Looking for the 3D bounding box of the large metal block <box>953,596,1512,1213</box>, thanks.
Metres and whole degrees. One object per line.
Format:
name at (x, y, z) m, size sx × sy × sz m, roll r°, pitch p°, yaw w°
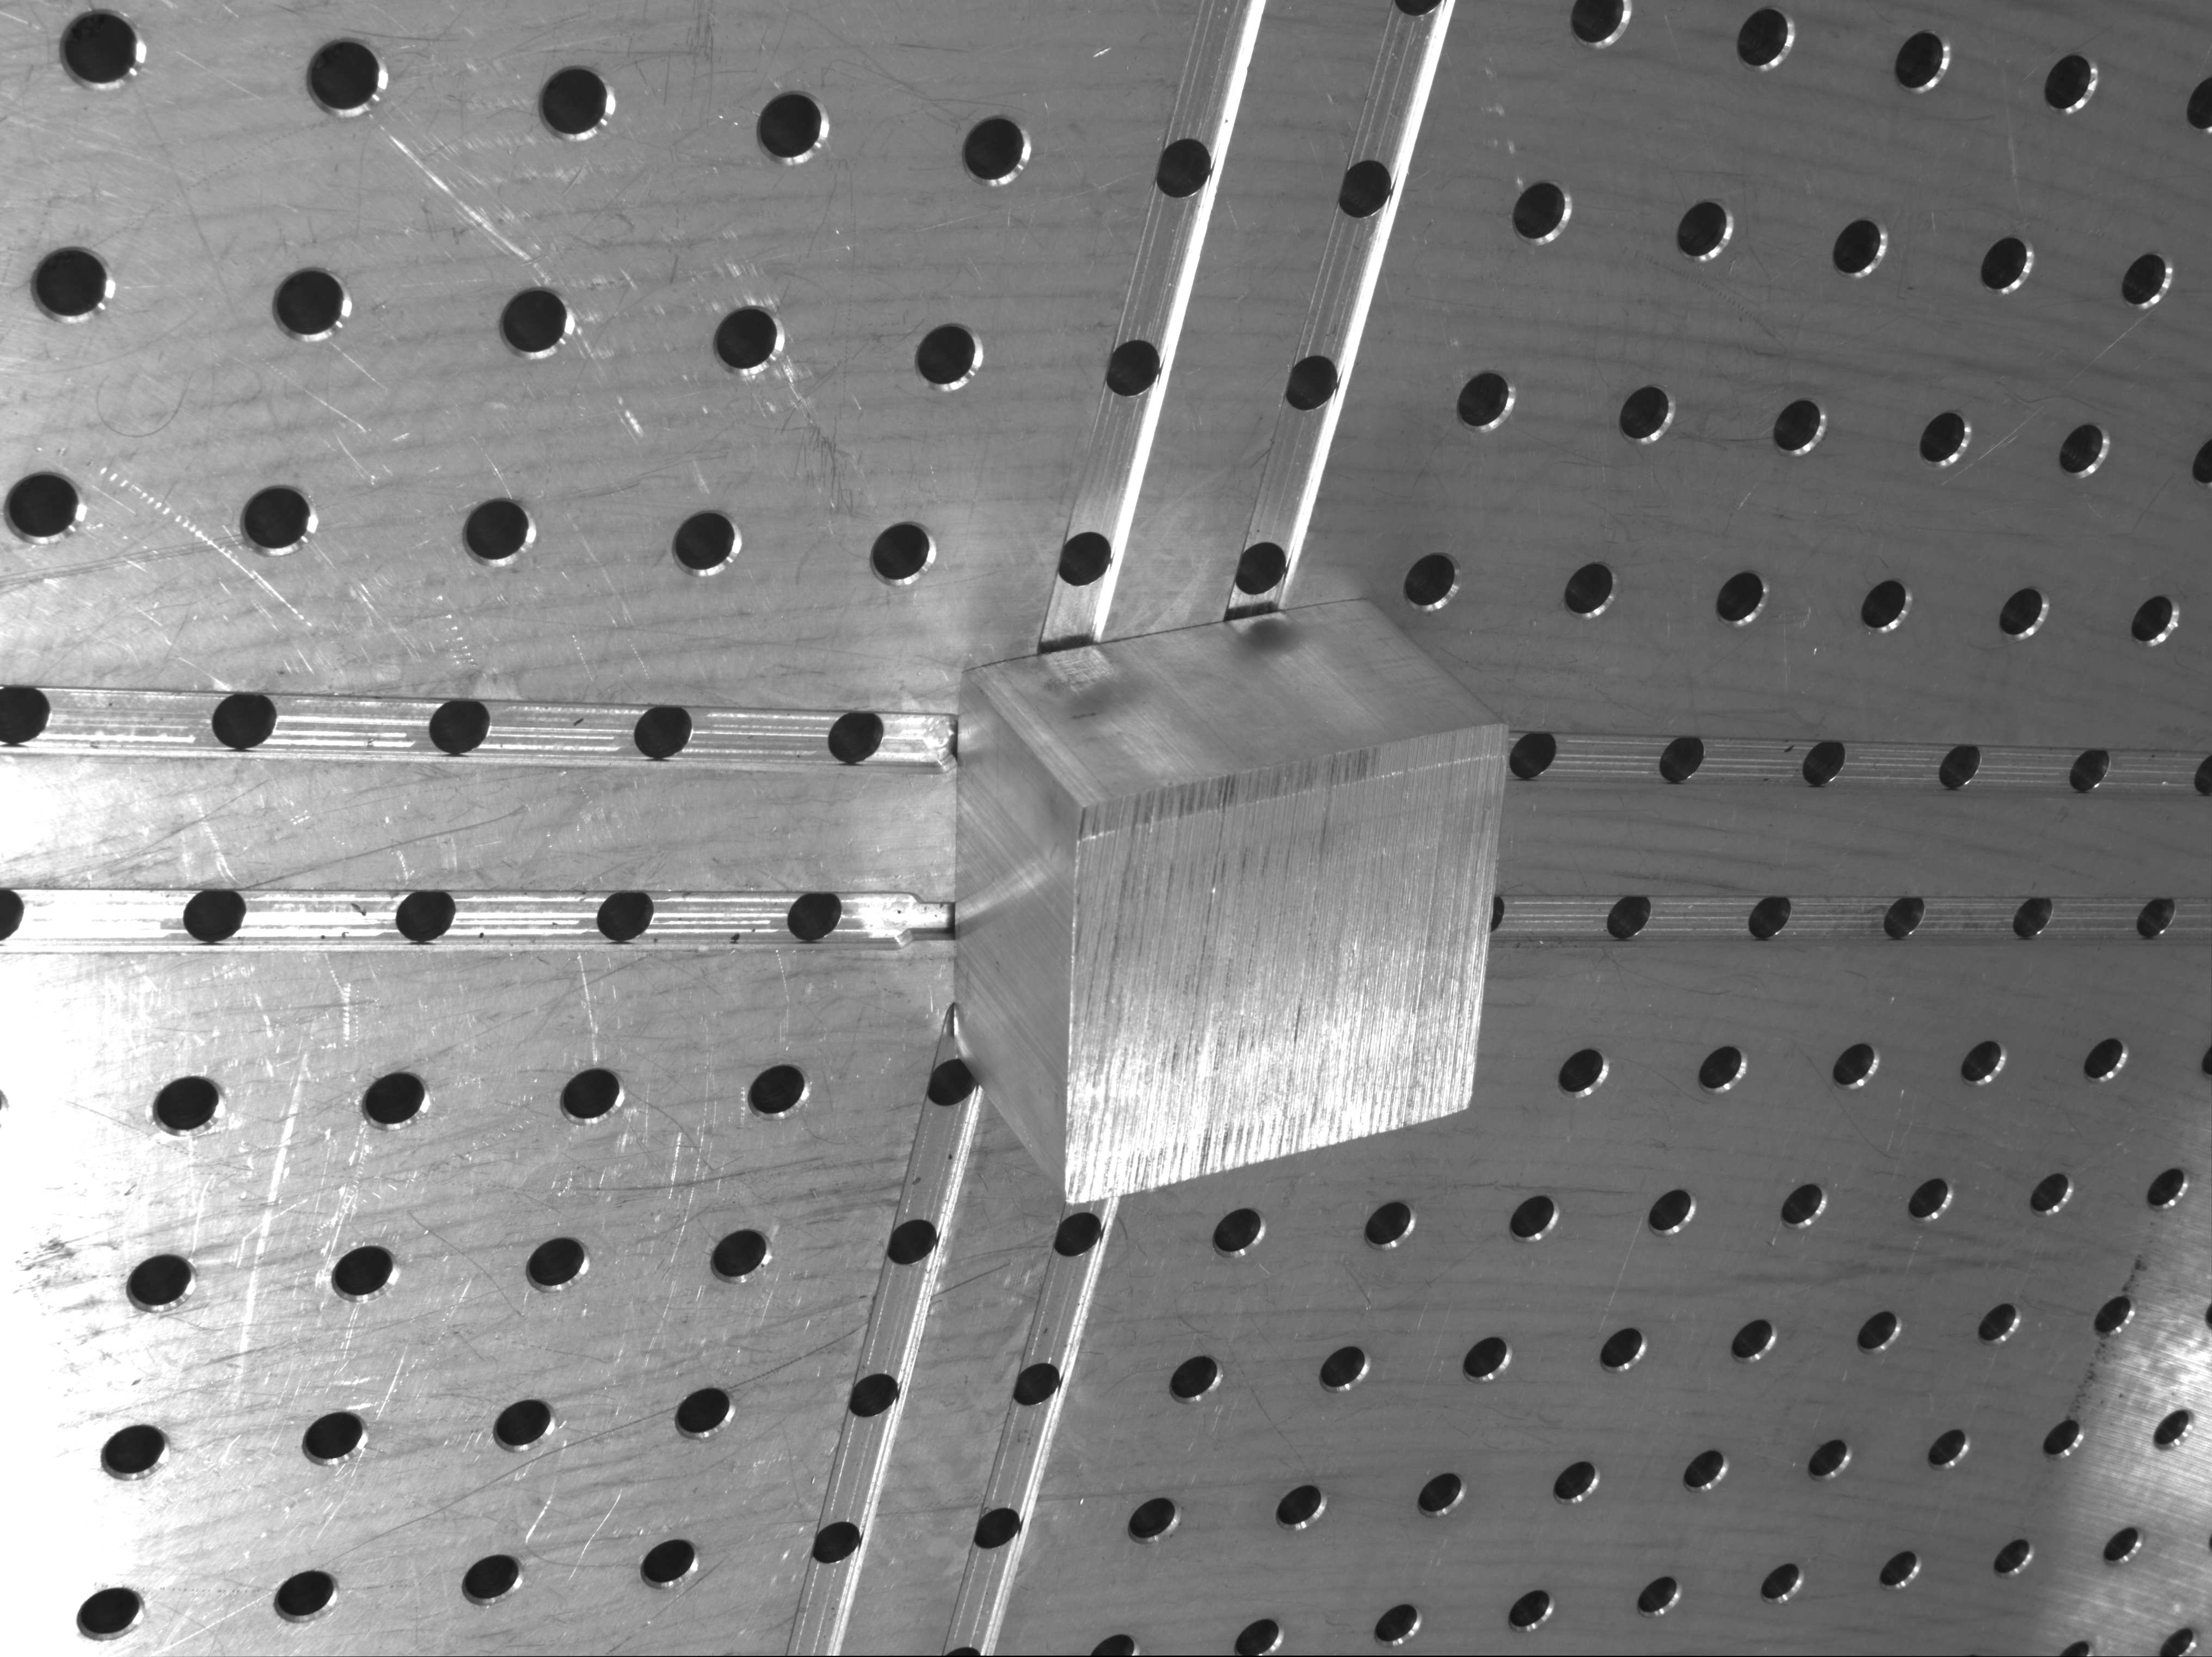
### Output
large metal block at (0.020, 0.012, 0.642) m, size 0.080 × 0.050 × 0.080 m, roll -11°, pitch 123°, yaw -22°
